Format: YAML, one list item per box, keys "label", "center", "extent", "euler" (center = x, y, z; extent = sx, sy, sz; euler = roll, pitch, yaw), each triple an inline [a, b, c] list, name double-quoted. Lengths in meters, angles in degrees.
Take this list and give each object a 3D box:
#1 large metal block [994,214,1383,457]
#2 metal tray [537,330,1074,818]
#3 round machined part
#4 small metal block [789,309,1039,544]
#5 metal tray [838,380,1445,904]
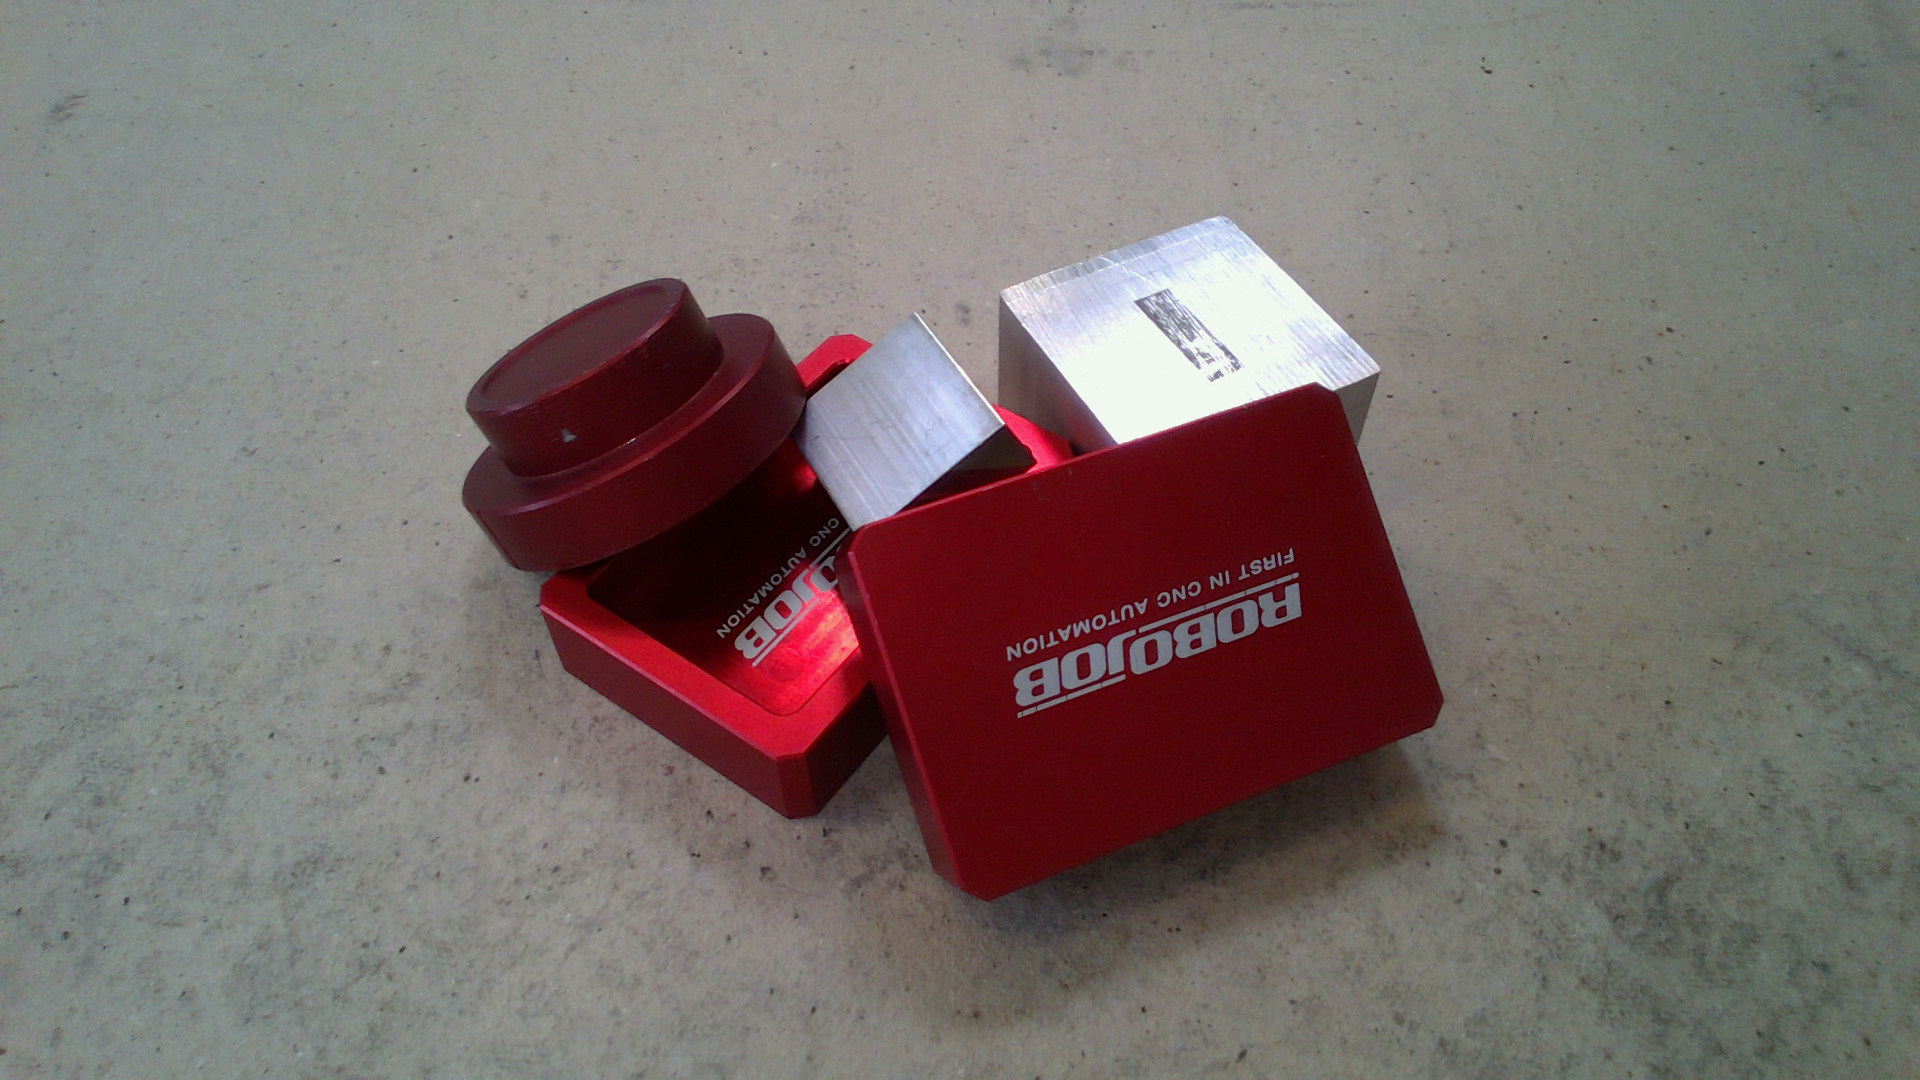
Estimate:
- label: "large metal block"
  center: [0.064, -0.044, 0.413]
  extent: [0.080, 0.050, 0.080]
  euler: [-21, 53, -17]
- label: "metal tray"
  center: [-0.039, 0.003, 0.385]
  extent: [0.090, 0.030, 0.130]
  euler: [28, 55, 22]
- label: "round machined part"
  center: [-0.096, -0.038, 0.385]
  extent: [0.098, 0.042, 0.098]
  euler: [-21, 29, 12]
- label: "small metal block"
  center: [-0.015, -0.027, 0.385]
  extent: [0.050, 0.025, 0.050]
  euler: [-39, 58, 5]
- label: "metal tray"
  center: [0.044, 0.023, 0.339]
  extent: [0.130, 0.030, 0.090]
  euler: [-18, 88, -14]
